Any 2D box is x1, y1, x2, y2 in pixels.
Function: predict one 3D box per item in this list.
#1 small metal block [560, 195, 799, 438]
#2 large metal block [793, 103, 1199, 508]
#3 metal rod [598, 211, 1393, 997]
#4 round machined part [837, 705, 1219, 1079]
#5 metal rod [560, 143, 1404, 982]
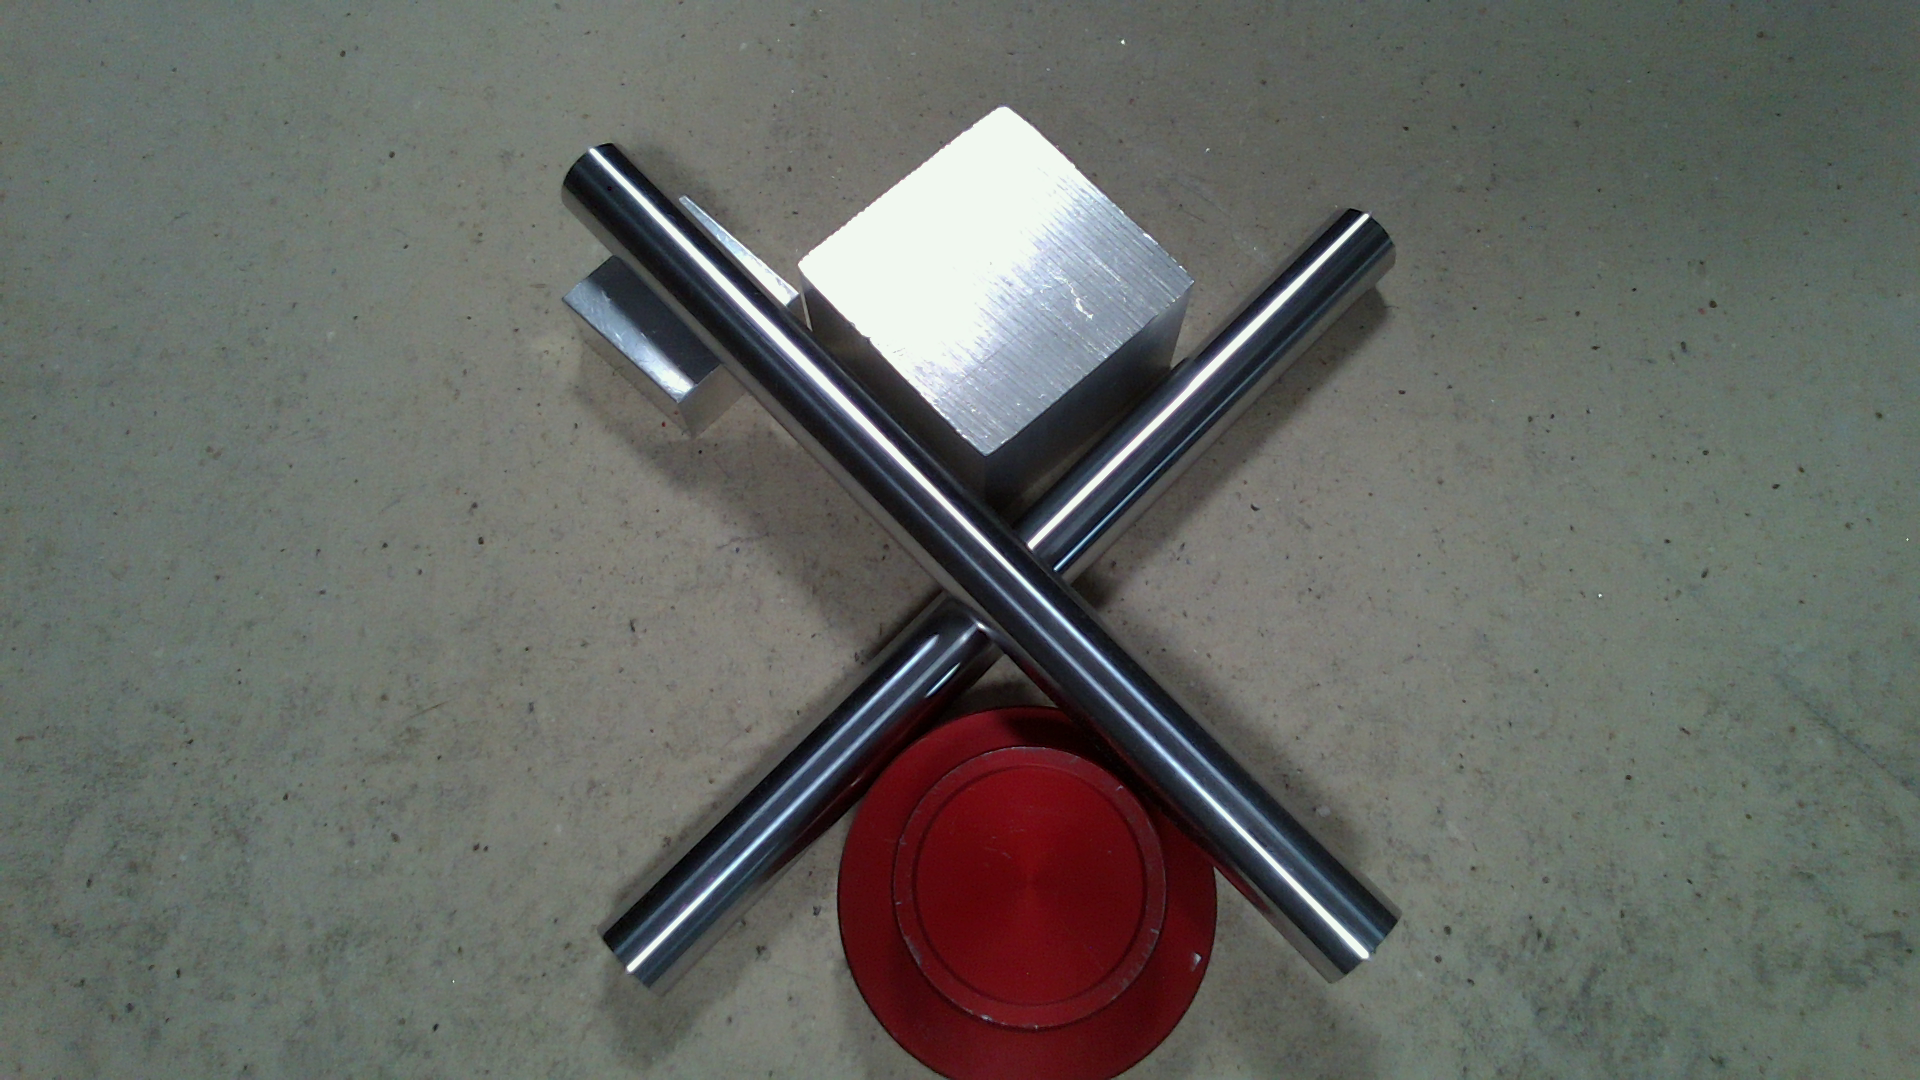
[{"bbox_3d":[-0.083,-0.068,0.421,0.050,0.025,0.050,41,75,13],"label":"small metal block"},{"bbox_3d":[0.010,-0.066,0.407,0.080,0.050,0.080,-40,75,-13],"label":"large metal block"},{"bbox_3d":[0.020,0.008,0.393,0.025,0.025,0.300,42,75,14],"label":"metal rod"},{"bbox_3d":[0.017,0.090,0.352,0.098,0.042,0.098,0,70,0],"label":"round machined part"},{"bbox_3d":[-0.005,-0.004,0.369,0.025,0.025,0.300,-42,75,-14],"label":"metal rod"}]
